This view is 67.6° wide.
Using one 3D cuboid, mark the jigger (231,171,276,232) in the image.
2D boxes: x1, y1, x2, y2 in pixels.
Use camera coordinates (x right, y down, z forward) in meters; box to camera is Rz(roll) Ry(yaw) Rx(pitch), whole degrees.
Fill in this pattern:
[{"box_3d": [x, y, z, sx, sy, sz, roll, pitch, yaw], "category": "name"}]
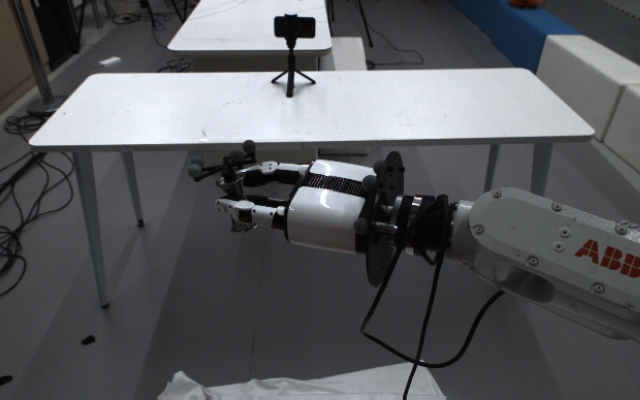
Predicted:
[{"box_3d": [-0.104, 0.003, 0.628, 0.043, 0.071, 0.043, -14, 22, 6], "category": "jigger"}]
